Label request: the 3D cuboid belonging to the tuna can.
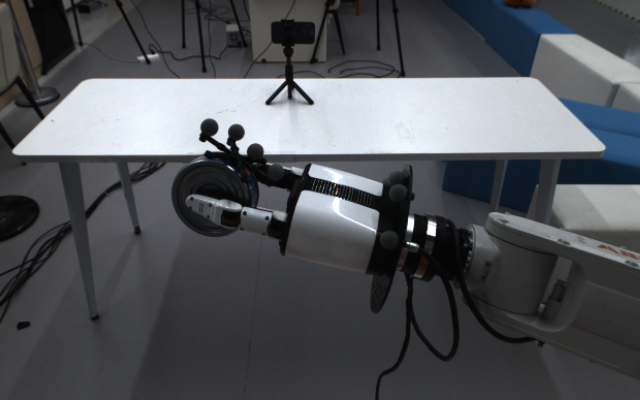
[{"bbox_3d":[-0.108,-0.006,0.507,0.085,0.085,0.034,6,19,6],"label":"tuna can"}]
